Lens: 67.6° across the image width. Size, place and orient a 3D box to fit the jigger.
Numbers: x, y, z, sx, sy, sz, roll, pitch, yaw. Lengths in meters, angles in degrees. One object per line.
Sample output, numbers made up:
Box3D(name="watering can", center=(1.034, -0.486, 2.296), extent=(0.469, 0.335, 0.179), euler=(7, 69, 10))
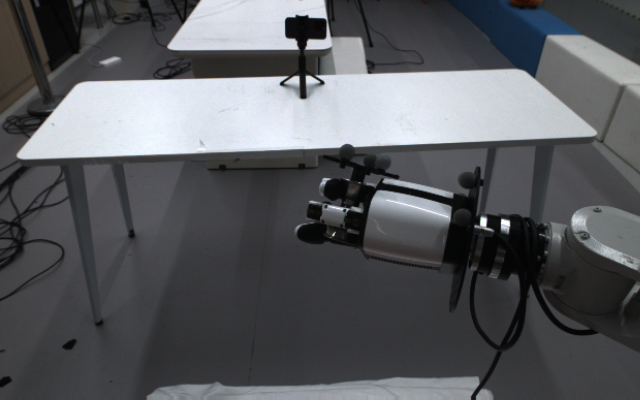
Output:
Box3D(name="jigger", center=(0.033, 0.012, 0.549), extent=(0.043, 0.071, 0.043), euler=(17, 2, -1))
